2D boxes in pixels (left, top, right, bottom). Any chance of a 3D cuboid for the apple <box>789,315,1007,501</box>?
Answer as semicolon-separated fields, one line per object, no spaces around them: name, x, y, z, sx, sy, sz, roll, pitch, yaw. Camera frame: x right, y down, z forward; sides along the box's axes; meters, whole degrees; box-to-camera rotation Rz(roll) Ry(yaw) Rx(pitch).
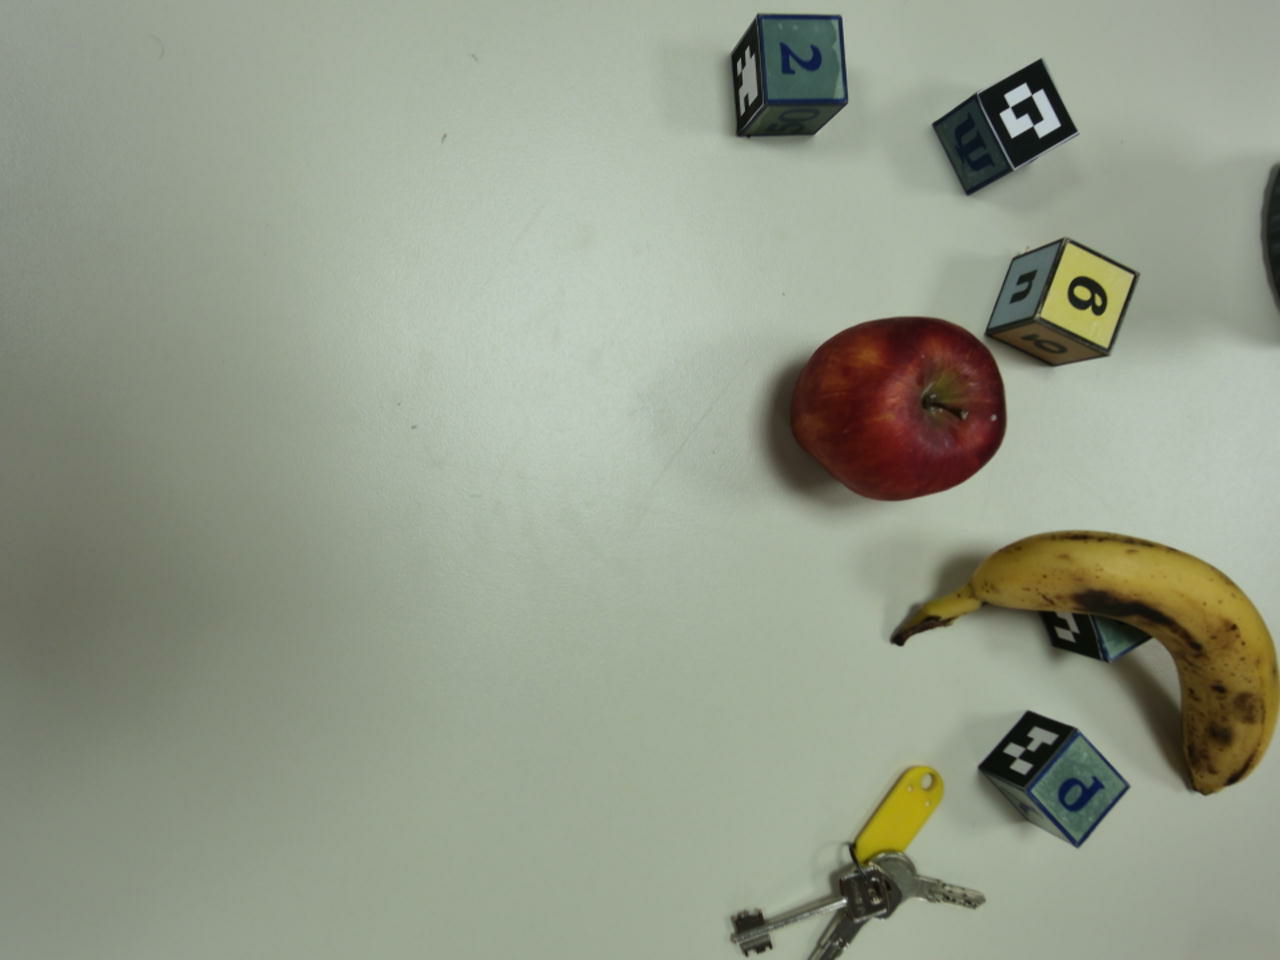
apple;0.108;-0.030;0.413;0.083;0.090;0.083;0;90;-11
